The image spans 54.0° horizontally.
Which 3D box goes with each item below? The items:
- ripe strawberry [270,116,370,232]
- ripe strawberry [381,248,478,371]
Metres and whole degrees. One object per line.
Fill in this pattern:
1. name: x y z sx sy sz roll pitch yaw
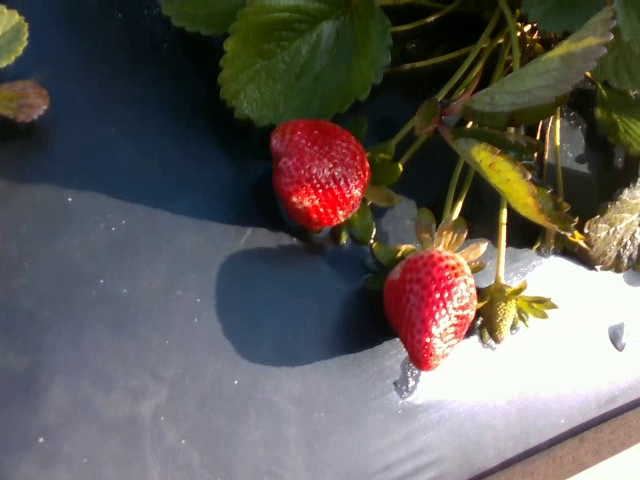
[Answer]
1. ripe strawberry: -0.001 -0.026 0.245 0.039 0.048 0.054 13 7 39
2. ripe strawberry: 0.044 0.027 0.238 0.043 0.053 0.038 37 -48 -27
